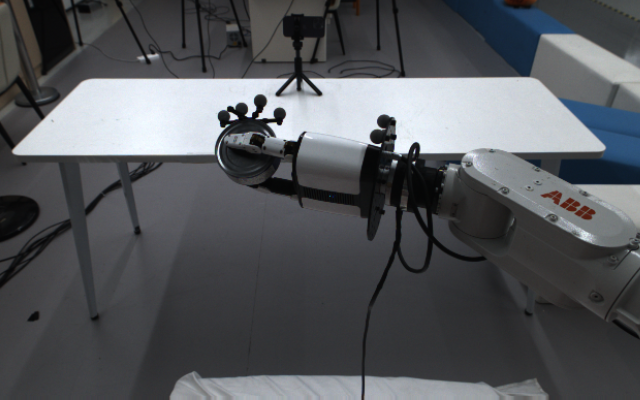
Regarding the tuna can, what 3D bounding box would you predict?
[{"bbox_3d":[-0.093,-0.064,0.657,0.085,0.034,0.085,-3,69,6],"label":"tuna can"}]
